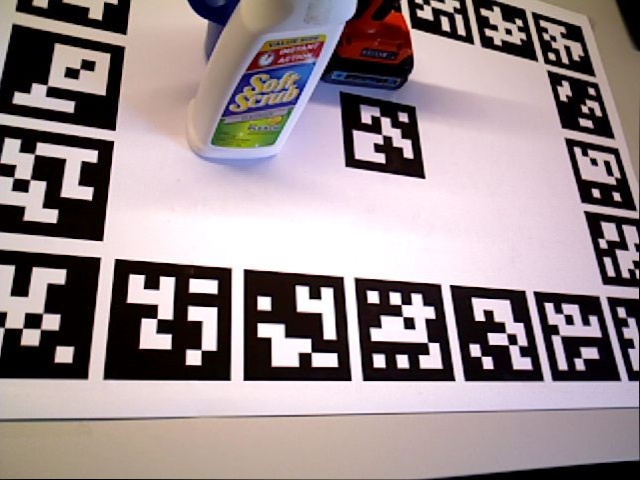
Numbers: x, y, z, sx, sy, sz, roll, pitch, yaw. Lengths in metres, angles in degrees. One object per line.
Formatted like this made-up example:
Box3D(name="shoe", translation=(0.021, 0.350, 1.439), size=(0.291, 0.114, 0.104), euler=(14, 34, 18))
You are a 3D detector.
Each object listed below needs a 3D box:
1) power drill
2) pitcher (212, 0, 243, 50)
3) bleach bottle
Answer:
Box3D(name="power drill", translation=(0.120, -0.248, 0.551), size=(0.182, 0.191, 0.057), euler=(2, 71, -28))
Box3D(name="pitcher", translation=(-0.030, -0.250, 0.479), size=(0.185, 0.248, 0.133), euler=(-23, 80, -28))
Box3D(name="bleach bottle", translation=(-0.027, -0.164, 0.423), size=(0.101, 0.256, 0.067), euler=(-3, 70, -23))
